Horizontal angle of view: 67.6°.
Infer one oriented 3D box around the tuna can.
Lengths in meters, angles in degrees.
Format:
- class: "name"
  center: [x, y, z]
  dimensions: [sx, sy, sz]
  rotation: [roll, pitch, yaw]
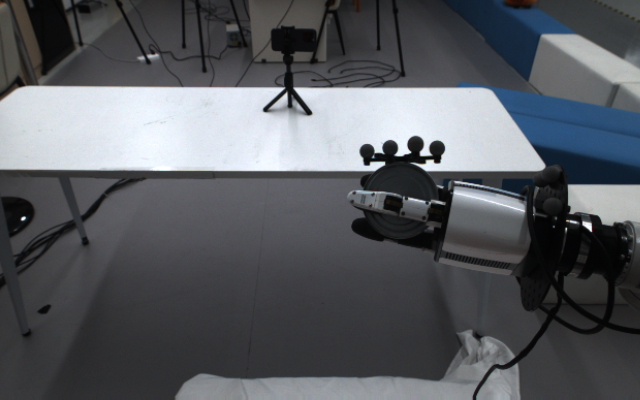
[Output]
- class: "tuna can"
  center: [0.094, 0.000, 0.553]
  dimensions: [0.085, 0.085, 0.034]
  rotation: [15, 2, 18]
